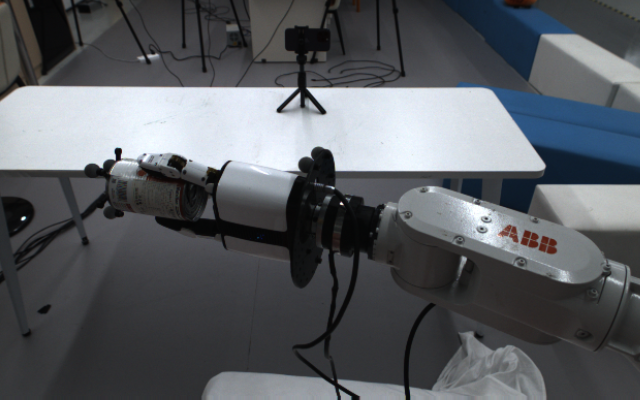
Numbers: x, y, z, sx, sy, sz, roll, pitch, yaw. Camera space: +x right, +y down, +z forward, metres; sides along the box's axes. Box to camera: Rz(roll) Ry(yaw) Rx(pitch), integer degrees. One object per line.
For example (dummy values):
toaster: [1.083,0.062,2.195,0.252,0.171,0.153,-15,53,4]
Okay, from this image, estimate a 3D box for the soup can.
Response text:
soup can: [-0.196,-0.012,0.593,0.101,0.067,0.067,8,35,10]
